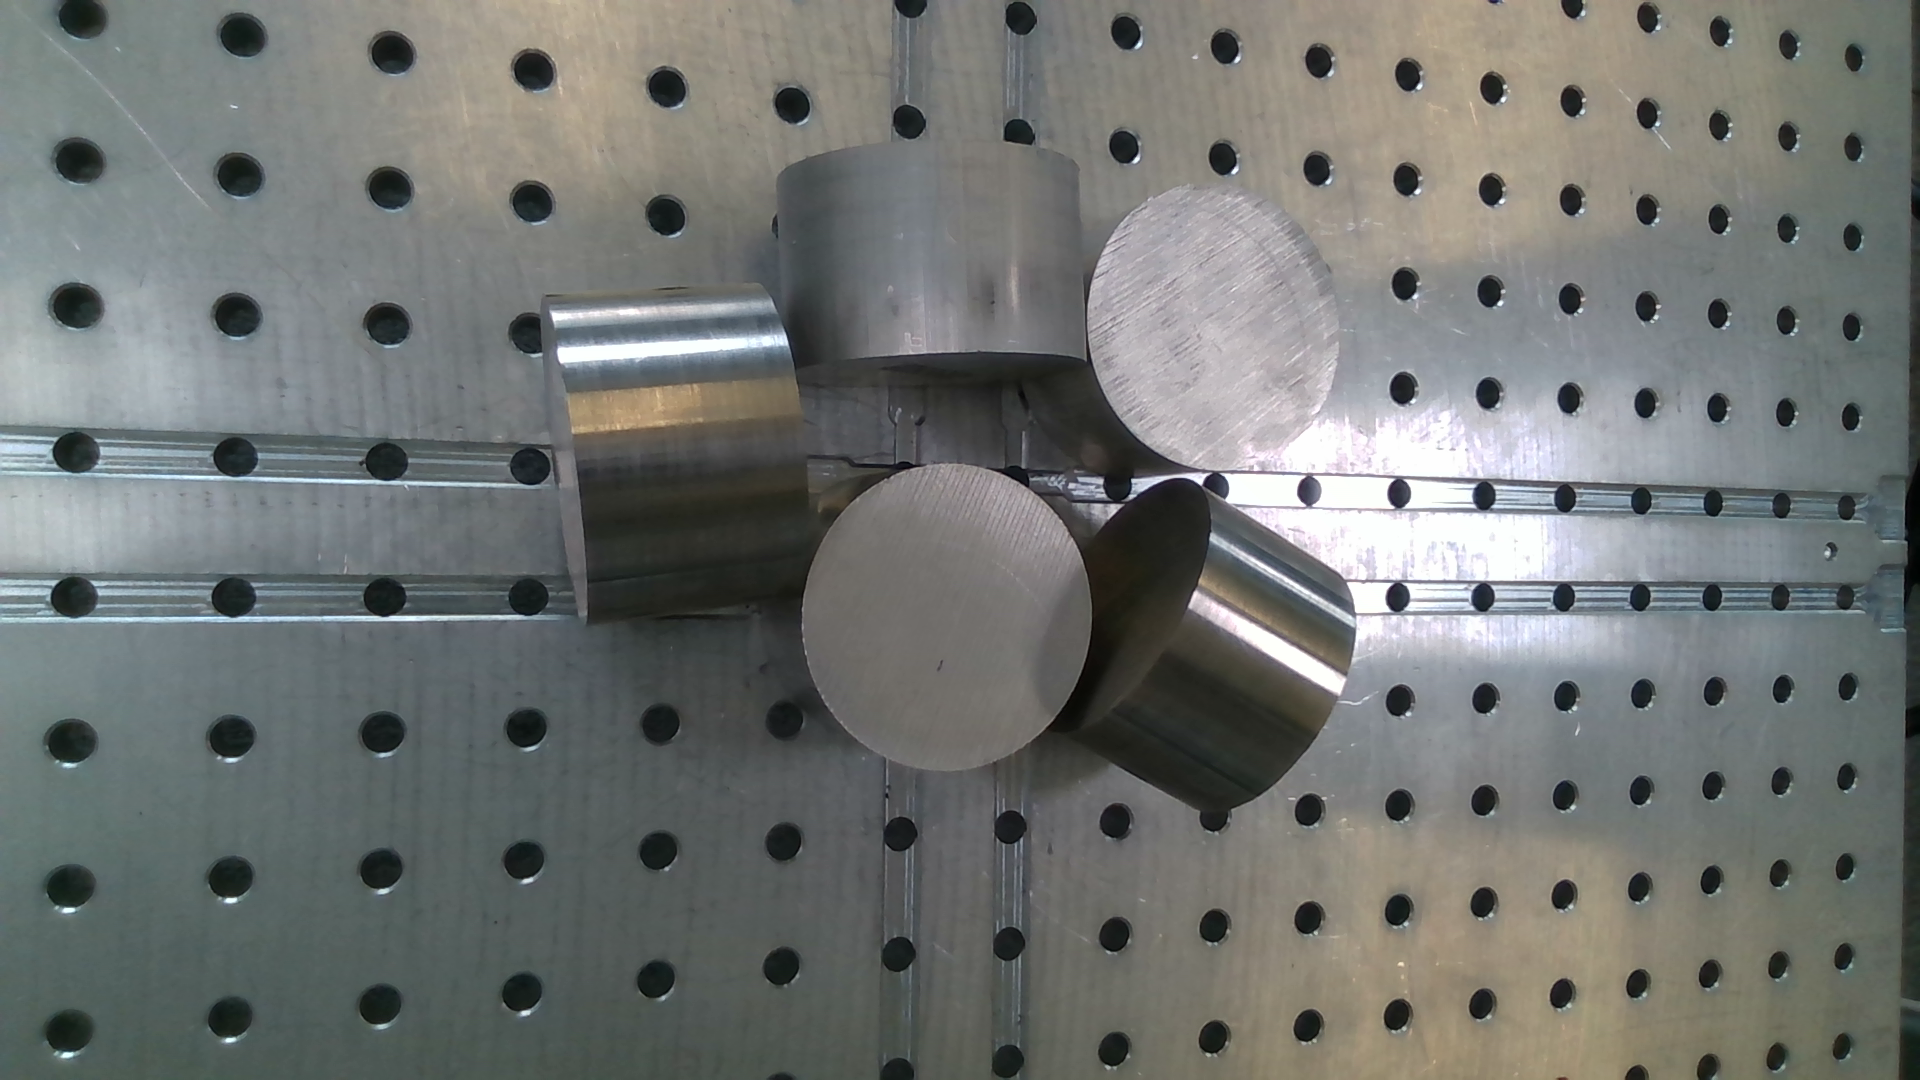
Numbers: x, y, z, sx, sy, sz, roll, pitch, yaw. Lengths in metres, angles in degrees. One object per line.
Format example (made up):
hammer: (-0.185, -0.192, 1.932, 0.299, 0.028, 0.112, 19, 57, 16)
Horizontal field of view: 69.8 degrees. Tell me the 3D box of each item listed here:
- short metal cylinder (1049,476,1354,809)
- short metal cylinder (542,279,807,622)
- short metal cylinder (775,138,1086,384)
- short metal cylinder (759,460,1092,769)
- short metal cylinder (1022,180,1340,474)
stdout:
short metal cylinder: (0.064, 0.029, 0.391, 0.050, 0.080, 0.080, 30, 80, -18)
short metal cylinder: (-0.072, -0.023, 0.340, 0.050, 0.080, 0.080, -7, 92, -20)
short metal cylinder: (-0.008, -0.070, 0.365, 0.080, 0.080, 0.050, -3, 91, -20)
short metal cylinder: (-0.011, 0.019, 0.379, 0.080, 0.050, 0.080, 0, 91, -20)
short metal cylinder: (0.063, -0.059, 0.406, 0.080, 0.050, 0.080, 0, 89, -20)
